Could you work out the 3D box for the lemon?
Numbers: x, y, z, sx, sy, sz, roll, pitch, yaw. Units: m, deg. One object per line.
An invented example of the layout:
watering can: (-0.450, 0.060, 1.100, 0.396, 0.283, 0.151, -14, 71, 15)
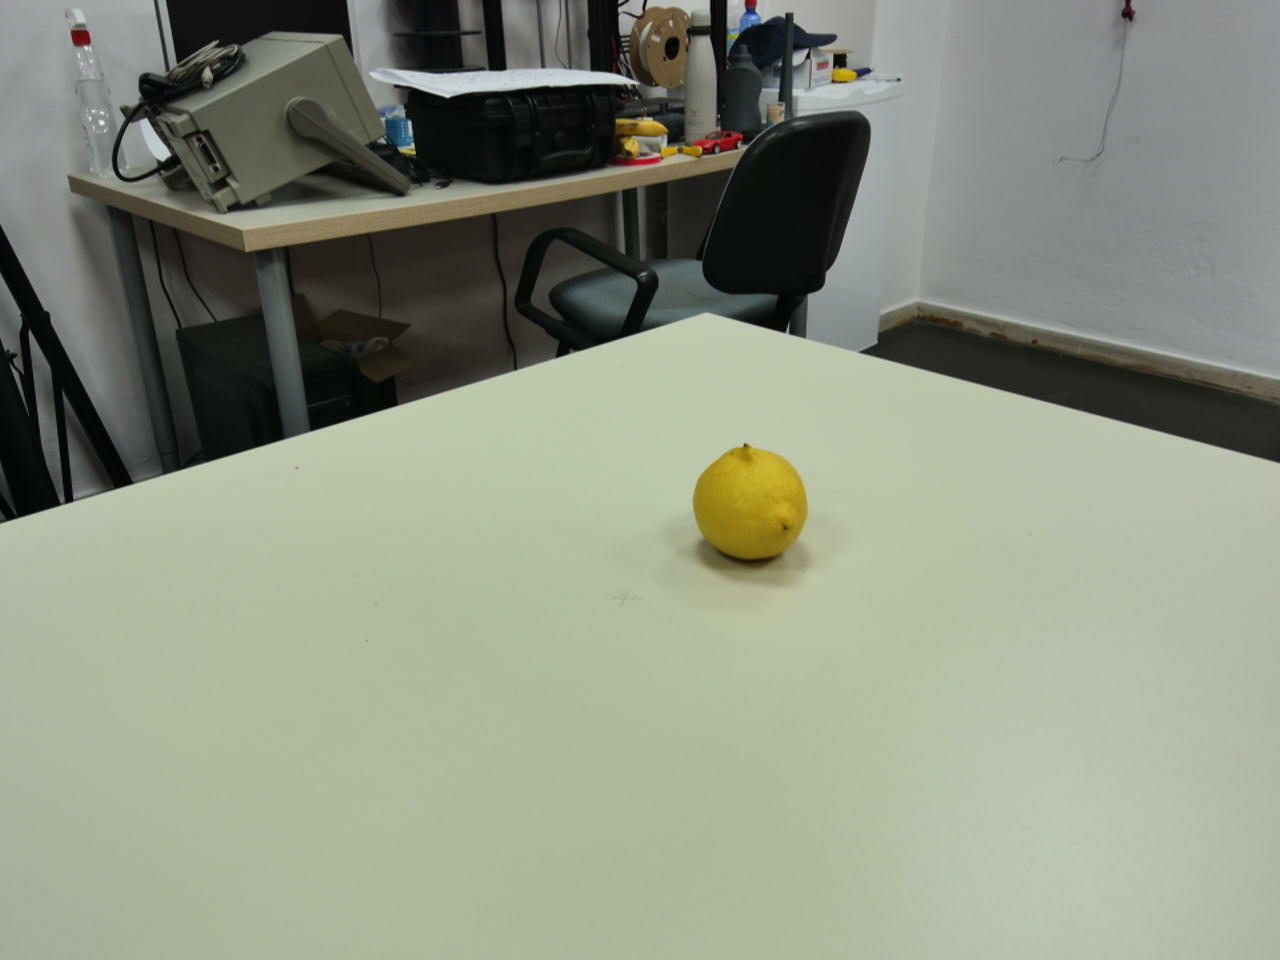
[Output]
lemon: (0.067, 0.011, 0.609, 0.070, 0.071, 0.071, 5, 25, 12)
